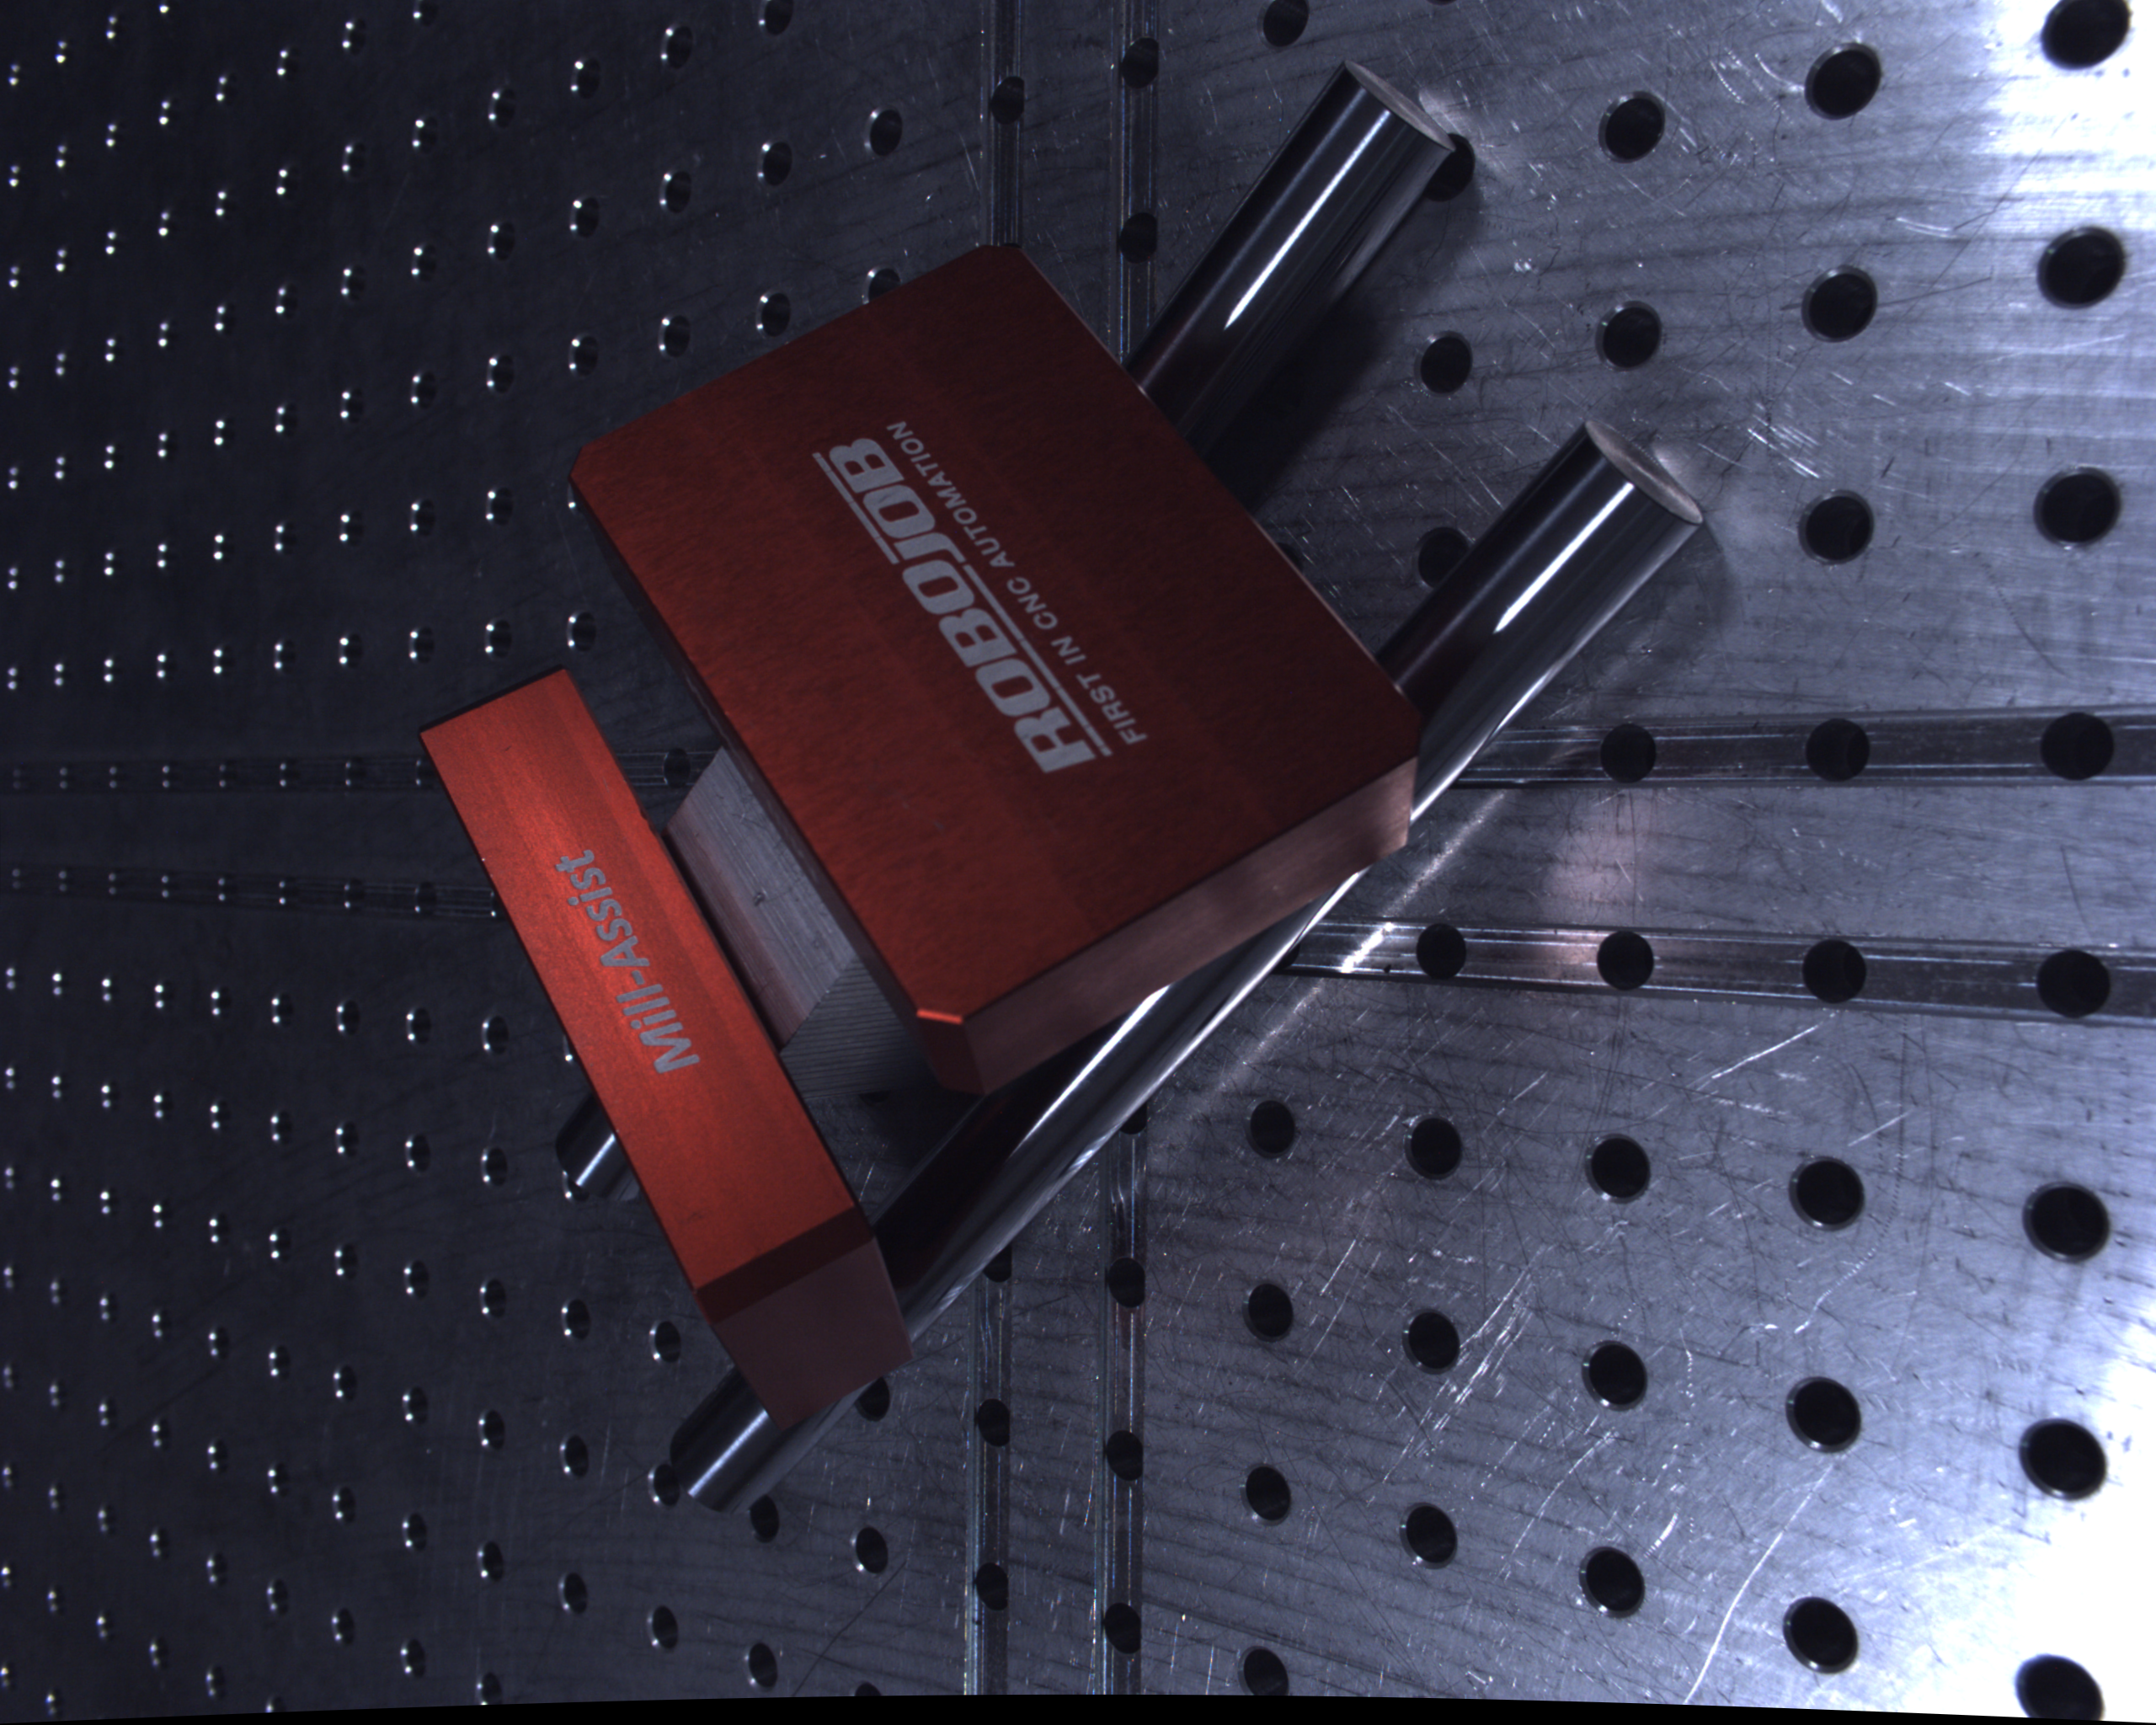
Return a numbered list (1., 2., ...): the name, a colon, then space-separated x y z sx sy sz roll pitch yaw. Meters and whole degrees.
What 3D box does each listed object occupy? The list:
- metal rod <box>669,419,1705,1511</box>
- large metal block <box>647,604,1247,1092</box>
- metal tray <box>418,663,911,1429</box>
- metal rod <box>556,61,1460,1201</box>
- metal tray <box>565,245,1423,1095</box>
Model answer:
1. metal rod: 0.005 0.037 0.404 0.299 0.025 0.025 -49 61 28
2. large metal block: -0.025 -0.003 0.392 0.080 0.081 0.050 -49 61 28
3. metal tray: -0.078 0.036 0.401 0.130 0.030 0.090 57 166 24
4. metal rod: -0.029 -0.030 0.431 0.298 0.025 0.025 -50 61 28
5. metal tray: -0.016 -0.037 0.350 0.090 0.030 0.130 -30 64 -12
